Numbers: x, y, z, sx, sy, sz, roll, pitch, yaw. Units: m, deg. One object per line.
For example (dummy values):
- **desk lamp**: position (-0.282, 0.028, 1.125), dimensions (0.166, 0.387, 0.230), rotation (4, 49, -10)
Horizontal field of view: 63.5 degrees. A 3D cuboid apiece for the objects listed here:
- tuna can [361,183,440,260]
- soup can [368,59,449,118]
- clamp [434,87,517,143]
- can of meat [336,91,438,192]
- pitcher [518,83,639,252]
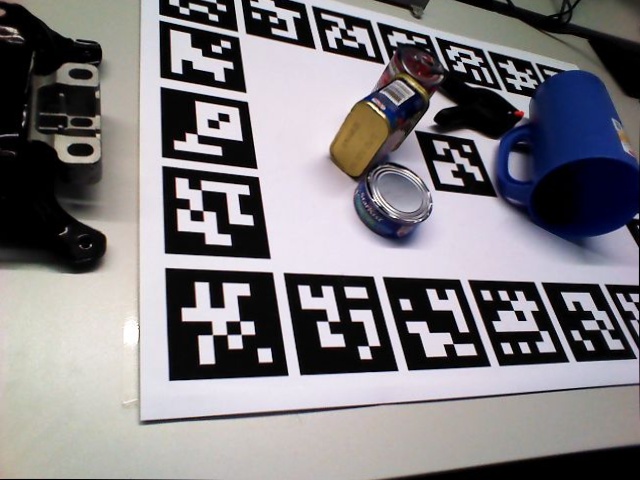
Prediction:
- **tuna can**: position (0.090, -0.021, 0.590), dimensions (0.085, 0.034, 0.085), rotation (11, 57, -19)
- **soup can**: position (0.105, -0.164, 0.648), dimensions (0.068, 0.103, 0.067), rotation (10, 58, -17)
- **clamp**: position (0.224, -0.183, 0.769), dimensions (0.165, 0.037, 0.121), rotation (7, 53, -25)
- **can of meat**: position (0.075, -0.110, 0.593), dimensions (0.083, 0.102, 0.058), rotation (-36, 80, -34)
- **pitcher**: position (0.367, -0.112, 0.713), dimensions (0.189, 0.134, 0.241), rotation (9, 46, 6)
